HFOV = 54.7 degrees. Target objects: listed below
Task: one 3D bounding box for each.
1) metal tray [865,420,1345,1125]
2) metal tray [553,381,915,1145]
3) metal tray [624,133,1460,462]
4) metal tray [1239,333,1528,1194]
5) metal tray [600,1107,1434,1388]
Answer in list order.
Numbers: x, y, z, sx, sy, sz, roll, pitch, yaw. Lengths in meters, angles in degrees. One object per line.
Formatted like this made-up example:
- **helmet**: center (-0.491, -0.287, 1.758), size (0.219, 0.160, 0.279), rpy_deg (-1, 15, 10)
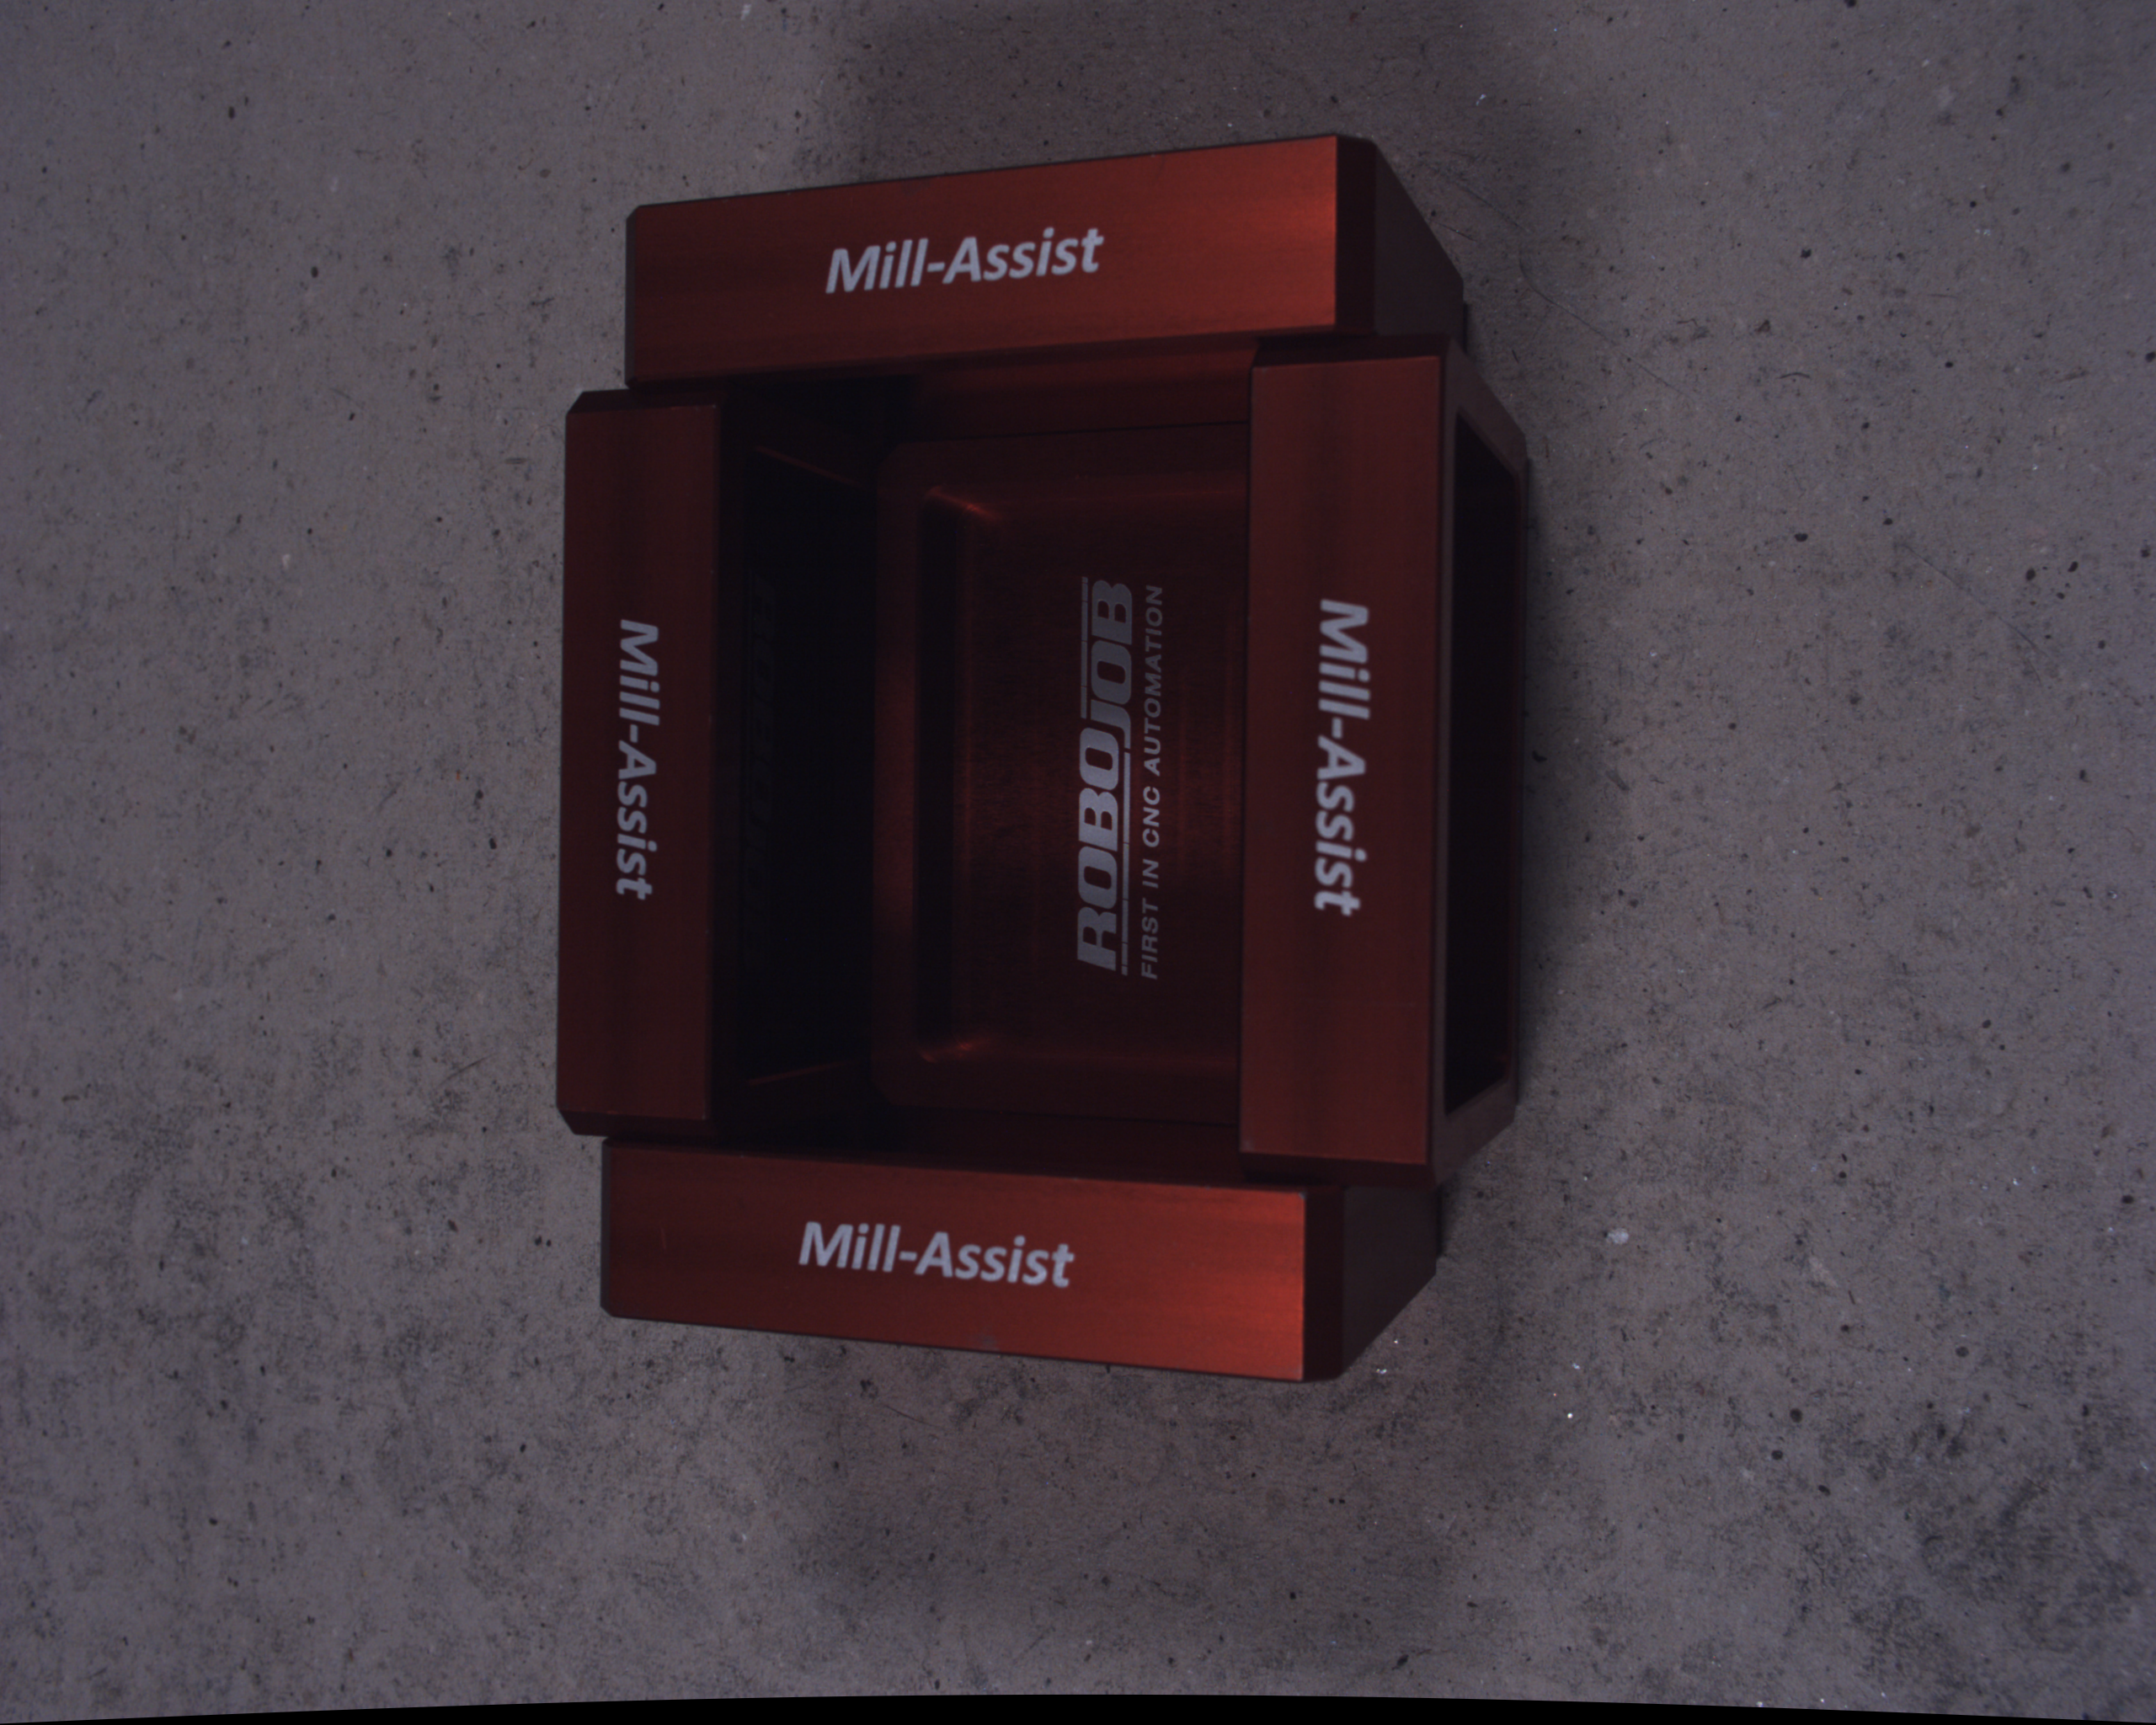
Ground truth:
- **metal tray**: center (0.007, -0.017, 0.404), size (0.090, 0.030, 0.129), rpy_deg (1, 90, 19)
- **metal tray**: center (-0.060, -0.017, 0.395), size (0.030, 0.090, 0.129), rpy_deg (1, 90, 20)
- **metal tray**: center (-0.003, -0.096, 0.375), size (0.130, 0.090, 0.030), rpy_deg (1, 91, 19)
- **metal tray**: center (0.055, -0.015, 0.355), size (0.030, 0.090, 0.129), rpy_deg (1, 90, 20)
- **metal tray**: center (-0.007, 0.063, 0.377), size (0.130, 0.090, 0.030), rpy_deg (1, 91, 19)
